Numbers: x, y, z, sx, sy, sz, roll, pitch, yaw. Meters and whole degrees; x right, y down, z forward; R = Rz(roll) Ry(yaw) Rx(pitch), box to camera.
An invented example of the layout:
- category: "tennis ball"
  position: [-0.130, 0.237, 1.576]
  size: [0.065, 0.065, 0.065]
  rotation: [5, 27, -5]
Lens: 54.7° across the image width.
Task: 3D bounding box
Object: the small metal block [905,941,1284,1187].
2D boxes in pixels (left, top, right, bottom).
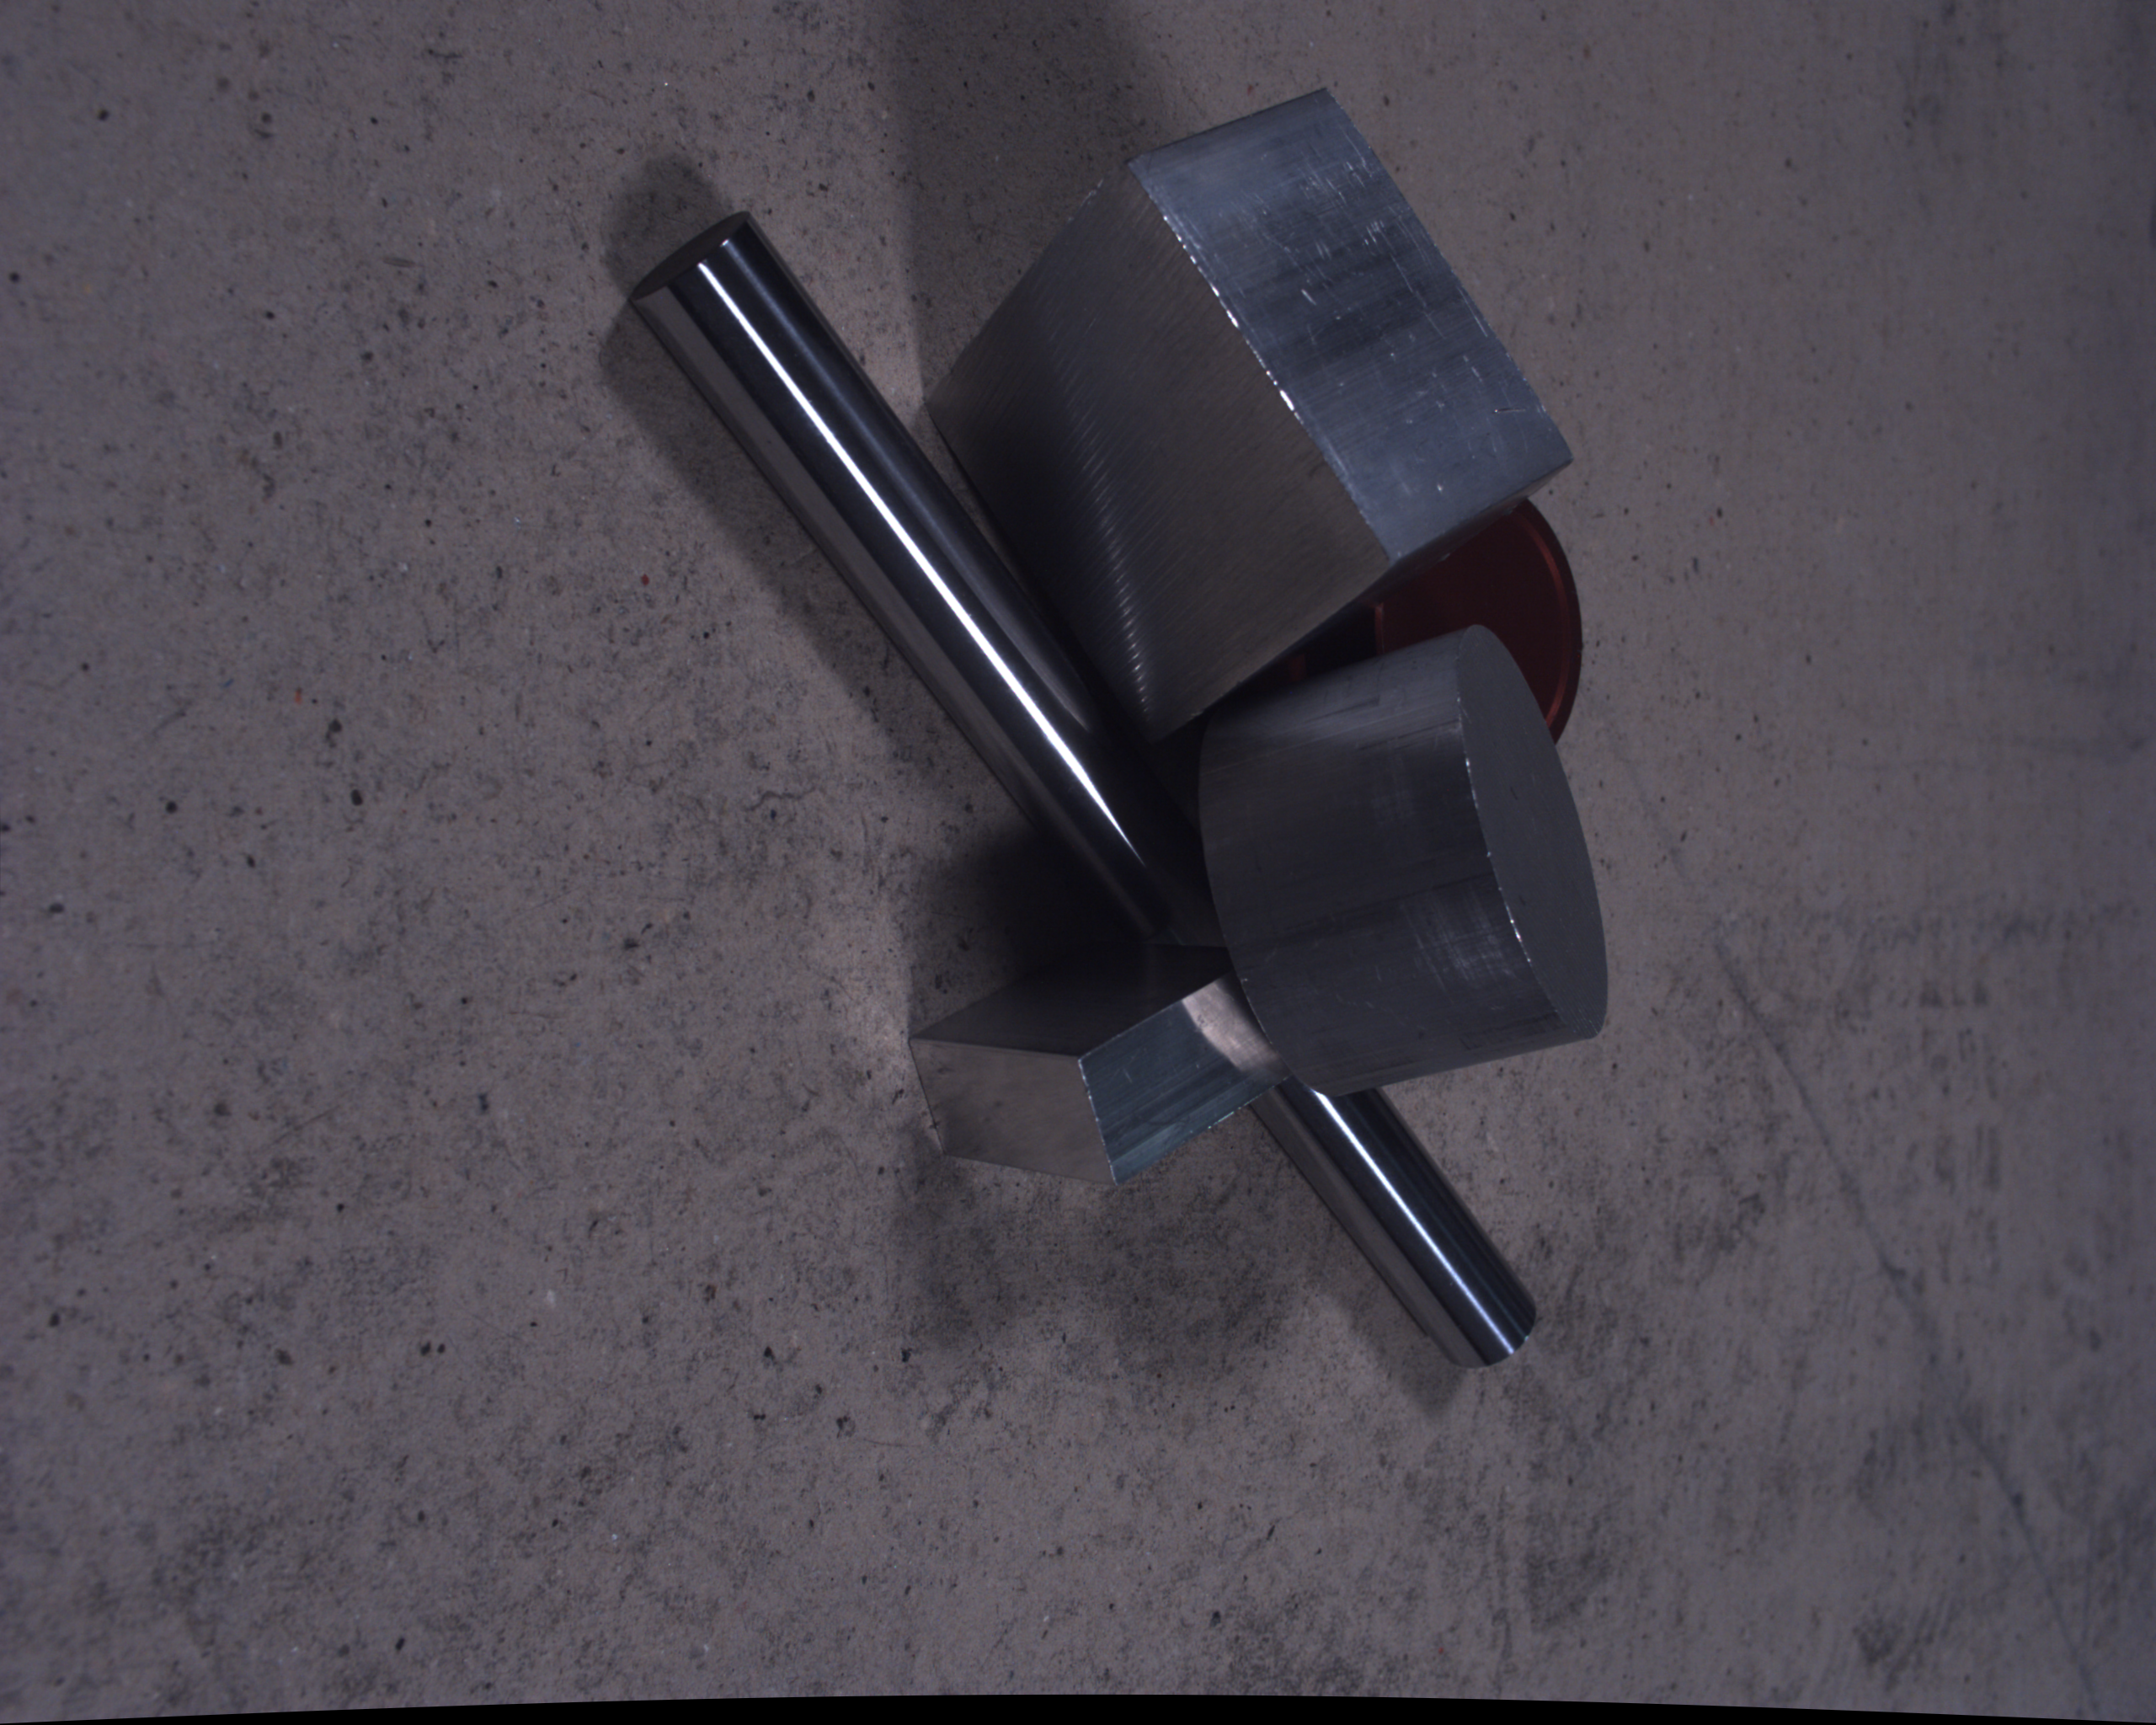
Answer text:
- category: "small metal block"
  position: [0.005, 0.036, 0.397]
  size: [0.050, 0.050, 0.025]
  rotation: [-27, 107, -38]

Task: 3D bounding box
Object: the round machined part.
- category: "round machined part"
  position: [0.074, -0.049, 0.459]
  size: [0.099, 0.042, 0.097]
  rotation: [0, 90, -40]

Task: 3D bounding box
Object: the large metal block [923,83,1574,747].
- category: "large metal block"
  position: [0.028, -0.079, 0.382]
  size: [0.050, 0.080, 0.080]
  rotation: [-33, 89, -34]

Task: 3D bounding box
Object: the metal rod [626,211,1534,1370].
- category: "metal rod"
  position: [0.015, 0.003, 0.421]
  size: [0.025, 0.025, 0.300]
  rotation: [-53, 121, -27]

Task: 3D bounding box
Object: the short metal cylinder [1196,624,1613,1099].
- category: "short metal cylinder"
  position: [0.063, 0.000, 0.397]
  size: [0.080, 0.050, 0.080]
  rotation: [43, 39, -47]
